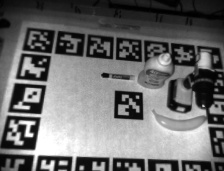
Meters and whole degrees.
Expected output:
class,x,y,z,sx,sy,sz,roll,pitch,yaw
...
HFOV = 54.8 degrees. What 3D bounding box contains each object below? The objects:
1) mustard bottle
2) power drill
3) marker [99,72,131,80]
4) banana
class,x,y,z,sx,sy,sz,roll,pitch,yaw
mustard bottle,0.145,-0.049,0.736,0.096,0.191,0.058,14,68,-3
power drill,0.250,0.012,0.711,0.057,0.187,0.184,17,66,-2
marker,0.010,-0.036,0.804,0.121,0.019,0.019,6,70,-6
banana,0.226,0.127,0.768,0.197,0.039,0.074,11,70,-2
